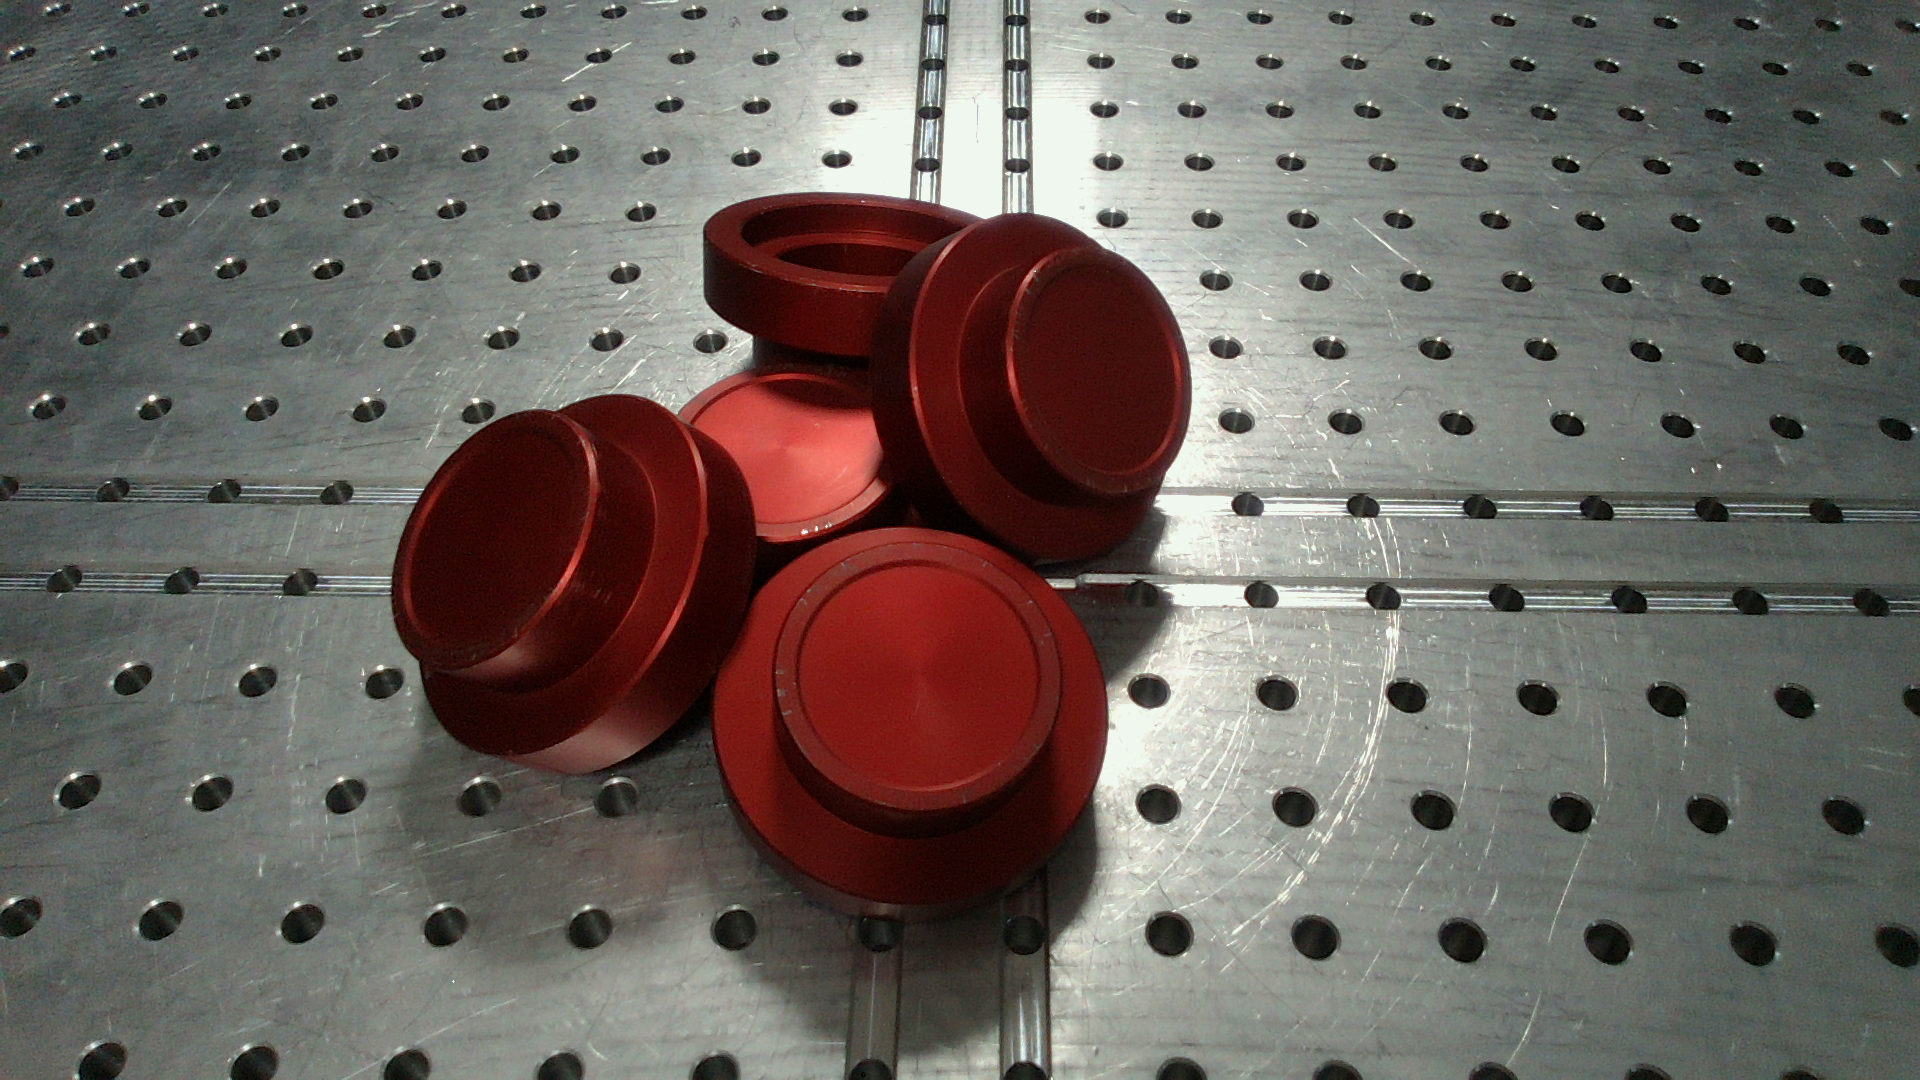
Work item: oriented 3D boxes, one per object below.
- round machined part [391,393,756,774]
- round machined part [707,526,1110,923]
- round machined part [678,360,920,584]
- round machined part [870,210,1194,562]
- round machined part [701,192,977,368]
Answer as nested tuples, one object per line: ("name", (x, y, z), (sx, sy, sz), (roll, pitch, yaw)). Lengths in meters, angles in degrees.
("round machined part", (-0.103, 0.006, 0.347), (0.098, 0.042, 0.098), (-14, 61, 27))
("round machined part", (-0.012, 0.039, 0.334), (0.098, 0.042, 0.098), (3, 61, -5))
("round machined part", (-0.050, -0.013, 0.393), (0.098, 0.042, 0.098), (0, 50, 0))
("round machined part", (0.027, -0.044, 0.382), (0.042, 0.098, 0.098), (-10, 32, 51))
("round machined part", (-0.031, -0.076, 0.433), (0.098, 0.042, 0.098), (4, 29, -2))
